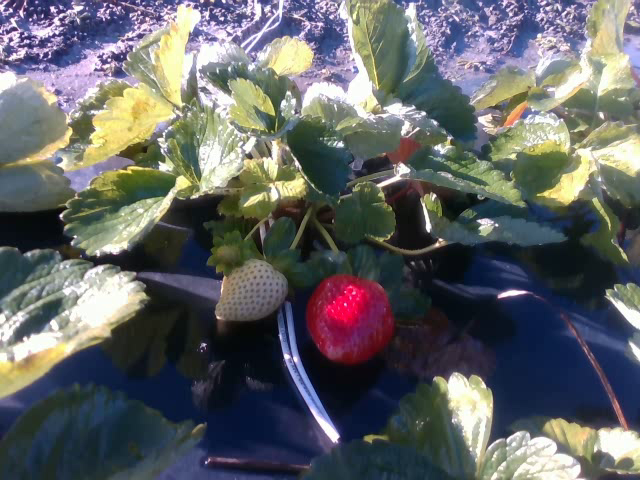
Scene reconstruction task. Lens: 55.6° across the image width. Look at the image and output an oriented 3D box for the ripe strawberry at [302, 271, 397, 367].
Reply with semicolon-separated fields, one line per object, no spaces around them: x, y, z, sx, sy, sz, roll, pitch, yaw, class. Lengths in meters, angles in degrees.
0.020;0.040;0.317;0.040;0.063;0.080;-43;3;24;ripe strawberry
